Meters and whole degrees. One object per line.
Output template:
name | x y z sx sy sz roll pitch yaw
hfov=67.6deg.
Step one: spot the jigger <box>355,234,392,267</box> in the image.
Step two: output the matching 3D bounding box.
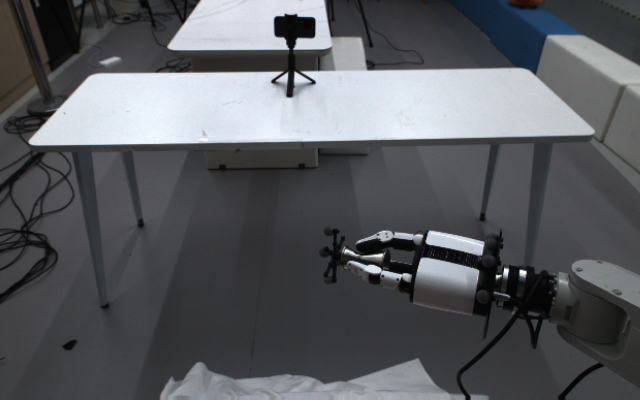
jigger | 0.077 0.090 0.749 0.071 0.043 0.043 5 34 22
